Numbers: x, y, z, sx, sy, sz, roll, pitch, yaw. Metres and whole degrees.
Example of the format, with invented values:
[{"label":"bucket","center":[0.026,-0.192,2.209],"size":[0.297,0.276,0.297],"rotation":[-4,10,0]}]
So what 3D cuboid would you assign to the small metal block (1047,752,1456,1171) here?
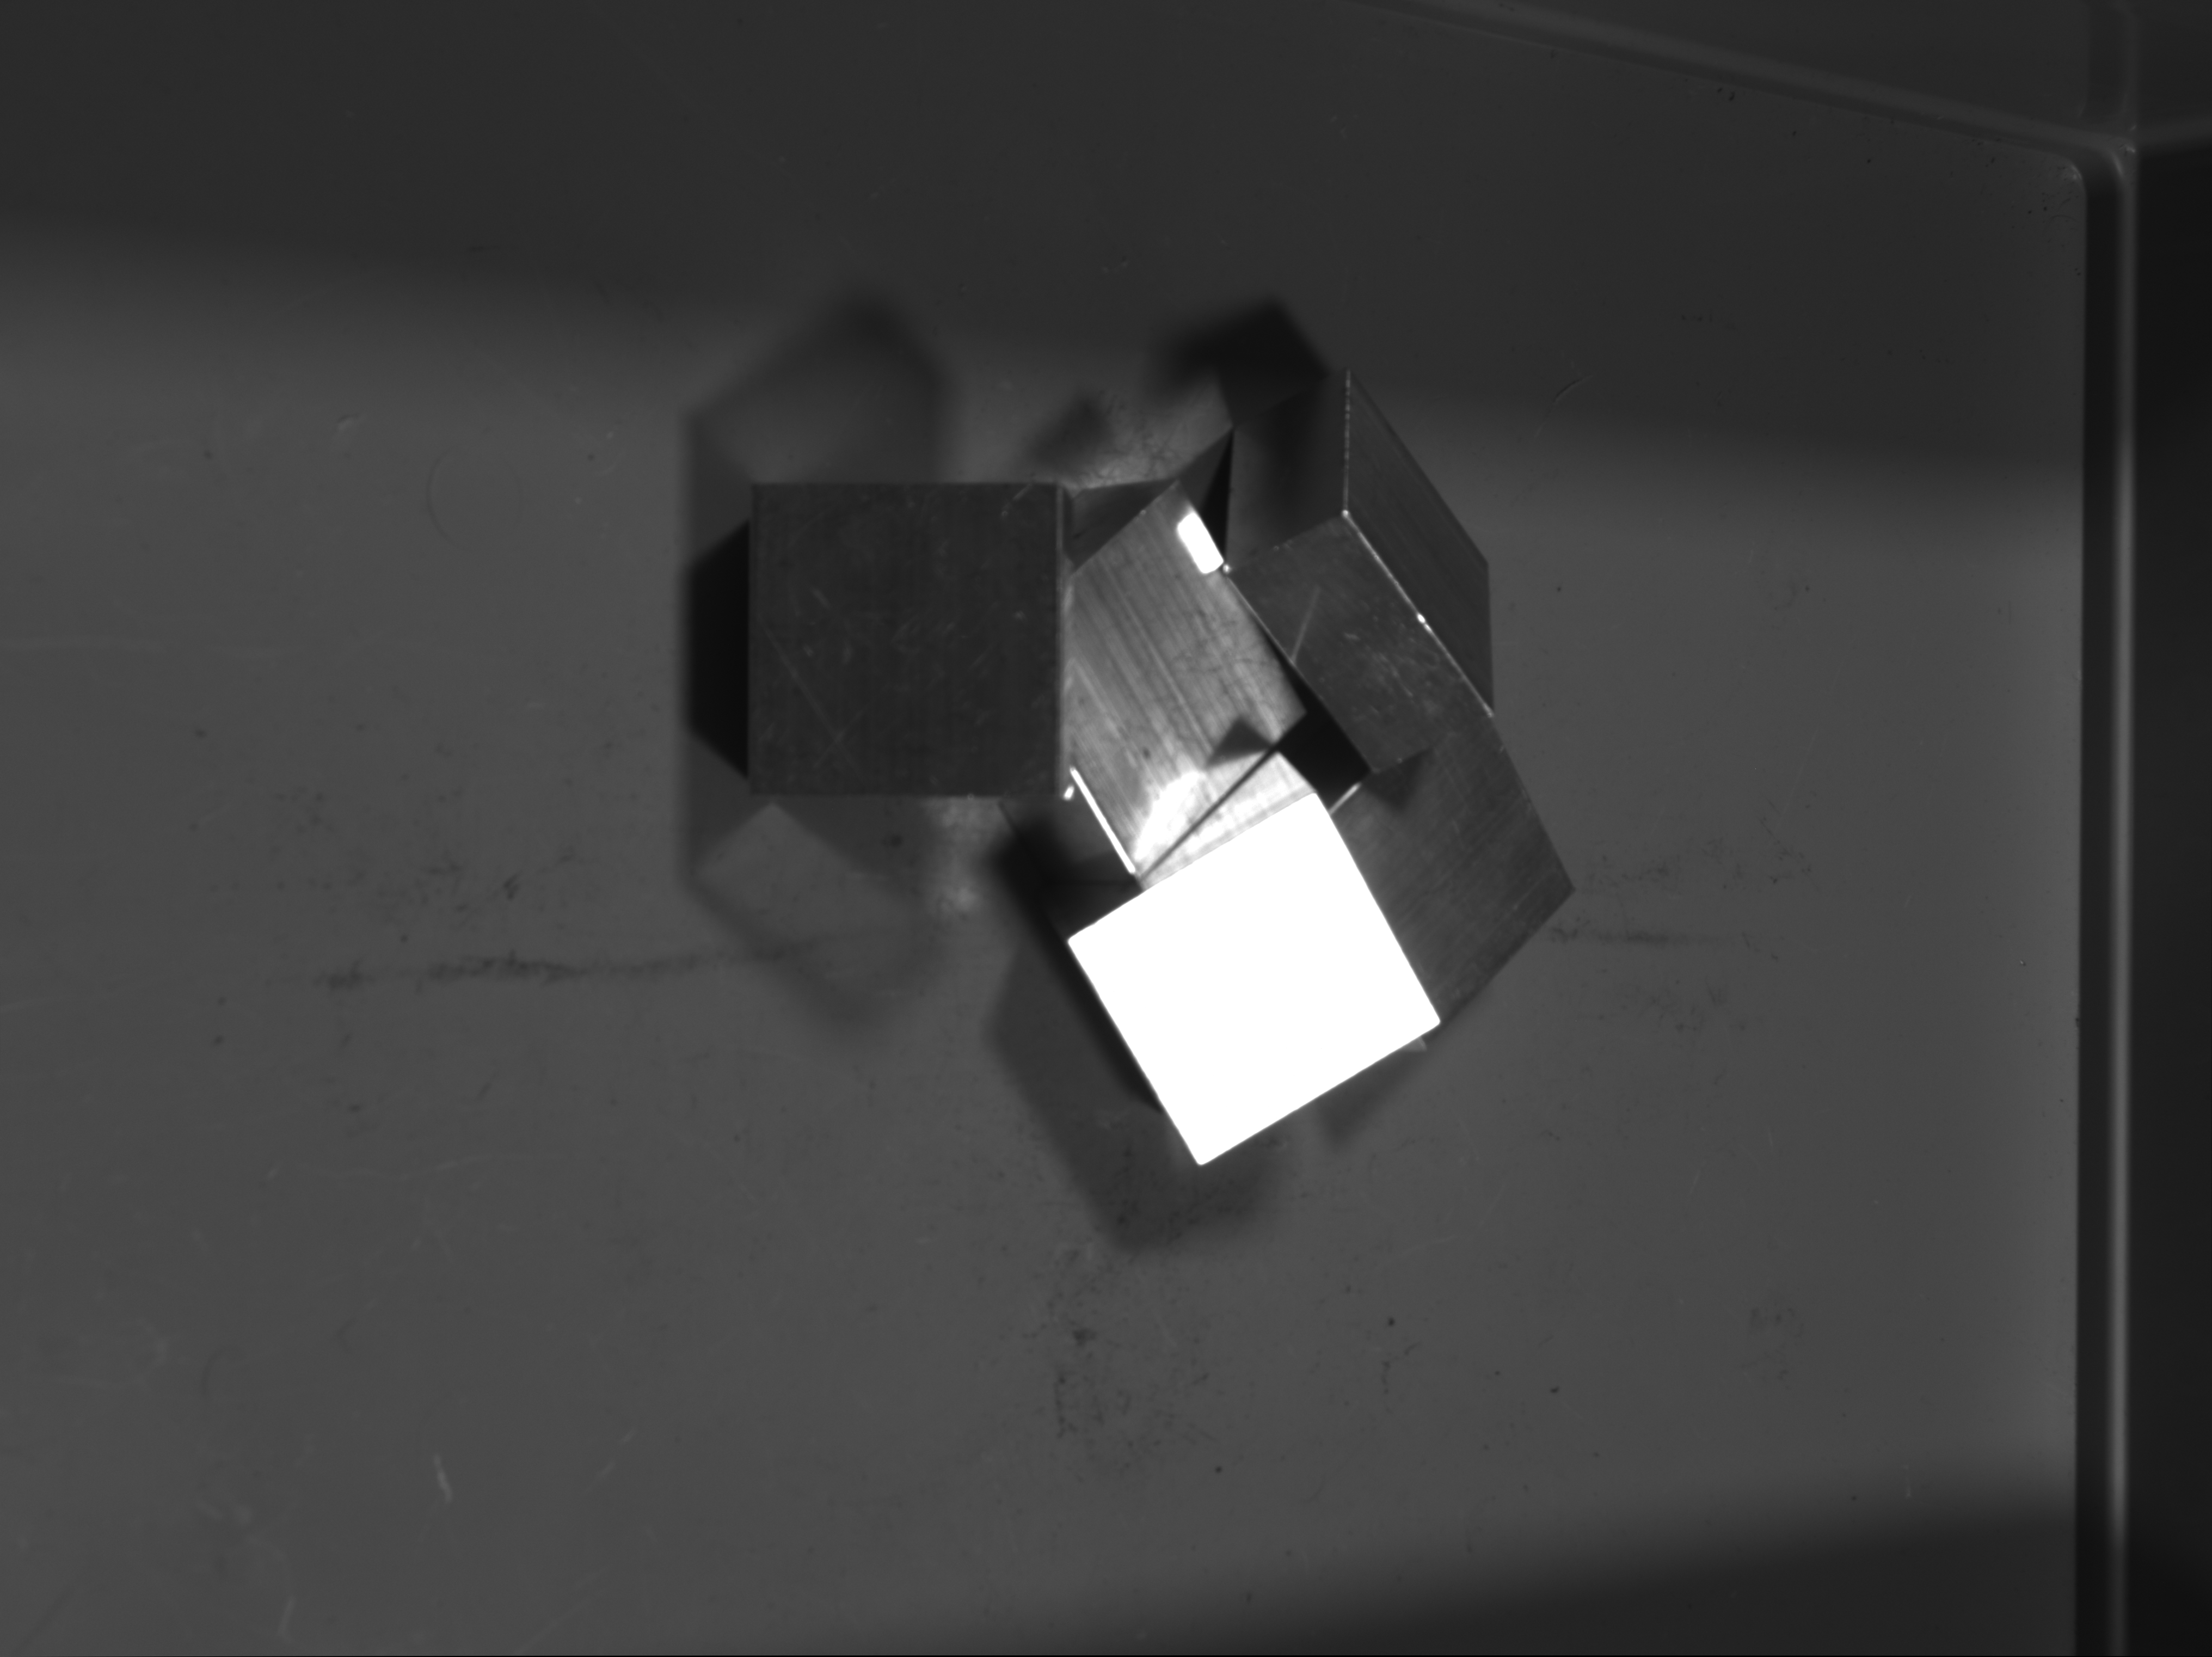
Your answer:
[{"label":"small metal block","center":[0.025,0.023,0.642],"size":[0.050,0.025,0.050],"rotation":[-31,112,-2]}]

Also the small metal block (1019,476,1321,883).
[{"label":"small metal block","center":[0.003,-0.026,0.638],"size":[0.050,0.025,0.050],"rotation":[-45,117,-31]}]

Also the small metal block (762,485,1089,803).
[{"label":"small metal block","center":[-0.029,-0.029,0.594],"size":[0.050,0.025,0.050],"rotation":[0,89,4]}]

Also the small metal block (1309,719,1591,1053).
[{"label":"small metal block","center":[0.057,0.006,0.683],"size":[0.050,0.025,0.050],"rotation":[-43,116,-31]}]

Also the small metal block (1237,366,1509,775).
[{"label":"small metal block","center":[0.049,-0.047,0.661],"size":[0.050,0.025,0.050],"rotation":[51,25,-28]}]
